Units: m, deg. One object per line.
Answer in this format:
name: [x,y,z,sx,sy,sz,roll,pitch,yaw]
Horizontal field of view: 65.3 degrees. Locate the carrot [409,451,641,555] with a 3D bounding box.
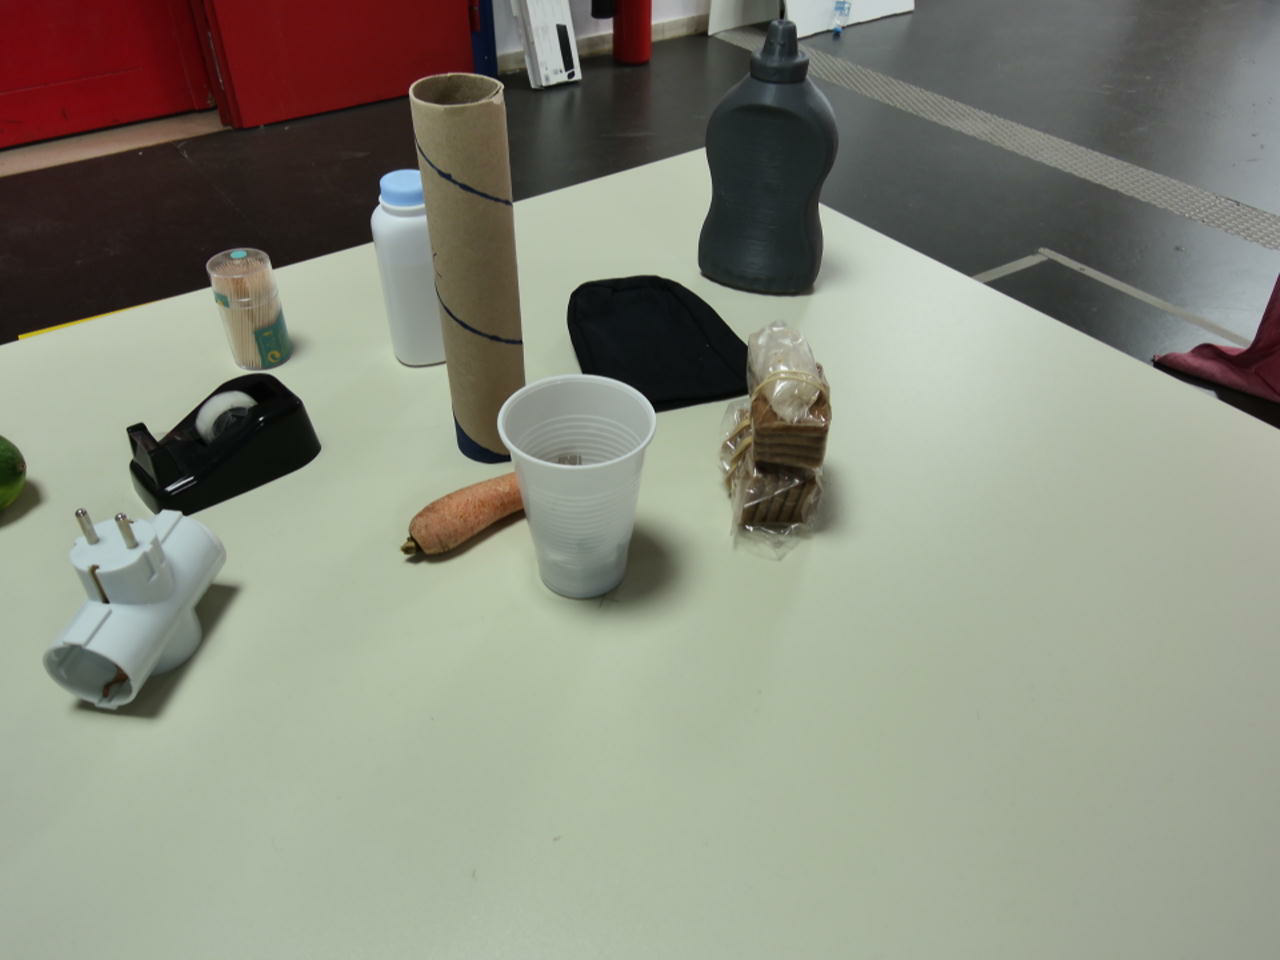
carrot: [-0.068,0.005,0.610,0.163,0.029,0.031,-24,45,-28]
